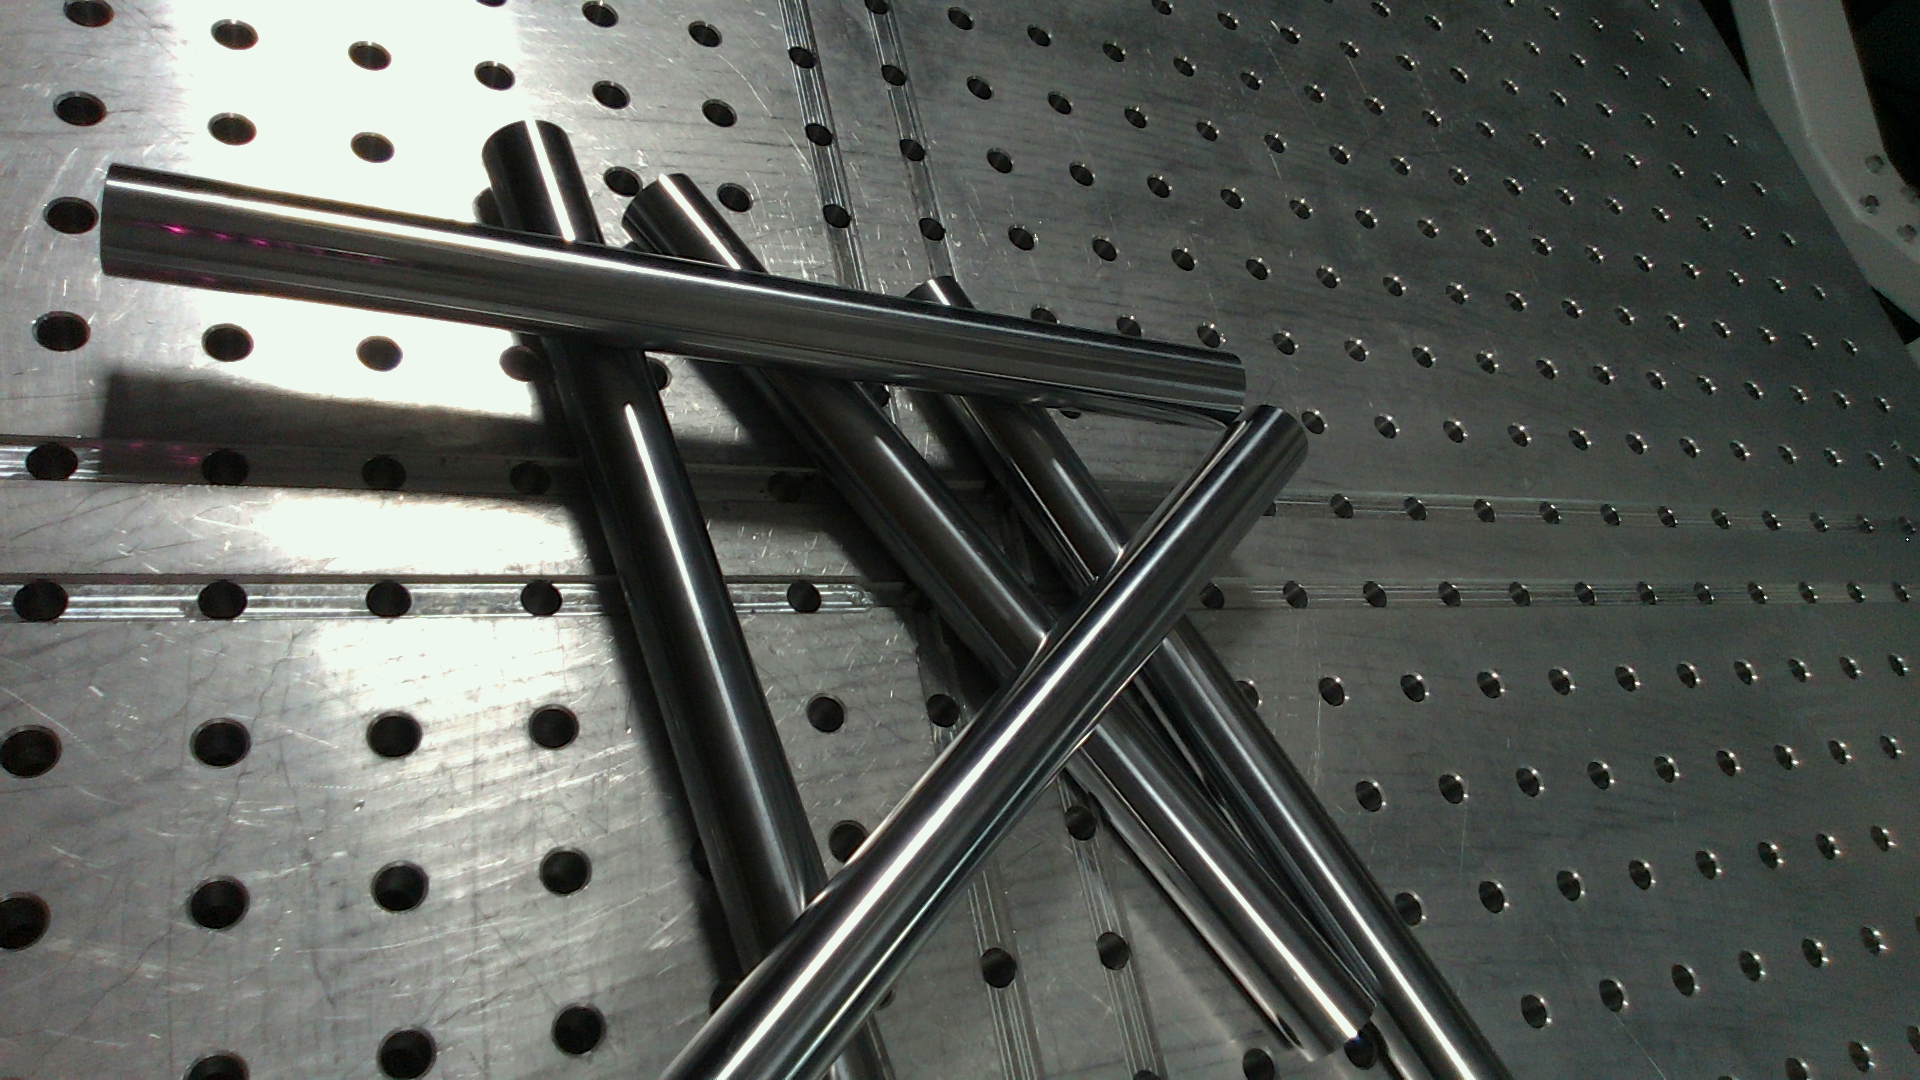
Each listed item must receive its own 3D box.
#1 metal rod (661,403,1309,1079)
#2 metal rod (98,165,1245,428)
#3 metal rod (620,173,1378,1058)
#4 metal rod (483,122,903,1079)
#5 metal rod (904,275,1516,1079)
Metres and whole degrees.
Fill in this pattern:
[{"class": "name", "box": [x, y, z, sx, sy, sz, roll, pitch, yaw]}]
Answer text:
[{"class": "metal rod", "box": [0.015, 0.050, 0.337, 0.025, 0.025, 0.301, 44, 51, 2]}, {"class": "metal rod", "box": [-0.053, -0.058, 0.368, 0.301, 0.025, 0.025, 5, 59, -26]}, {"class": "metal rod", "box": [0.006, 0.015, 0.386, 0.025, 0.025, 0.300, -34, 81, -38]}, {"class": "metal rod", "box": [-0.069, 0.019, 0.343, 0.025, 0.025, 0.300, -10, 67, -32]}, {"class": "metal rod", "box": [0.069, 0.047, 0.401, 0.025, 0.025, 0.300, -25, 75, -37]}]
